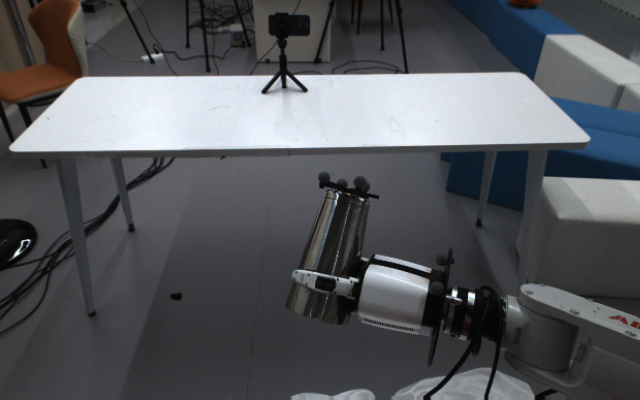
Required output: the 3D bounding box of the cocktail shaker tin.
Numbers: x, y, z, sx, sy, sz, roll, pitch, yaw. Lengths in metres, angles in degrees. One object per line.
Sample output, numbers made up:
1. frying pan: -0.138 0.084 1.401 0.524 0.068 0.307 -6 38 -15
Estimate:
1. cocktail shaker tin: 0.017 0.077 0.677 0.093 0.170 0.093 15 -4 1
